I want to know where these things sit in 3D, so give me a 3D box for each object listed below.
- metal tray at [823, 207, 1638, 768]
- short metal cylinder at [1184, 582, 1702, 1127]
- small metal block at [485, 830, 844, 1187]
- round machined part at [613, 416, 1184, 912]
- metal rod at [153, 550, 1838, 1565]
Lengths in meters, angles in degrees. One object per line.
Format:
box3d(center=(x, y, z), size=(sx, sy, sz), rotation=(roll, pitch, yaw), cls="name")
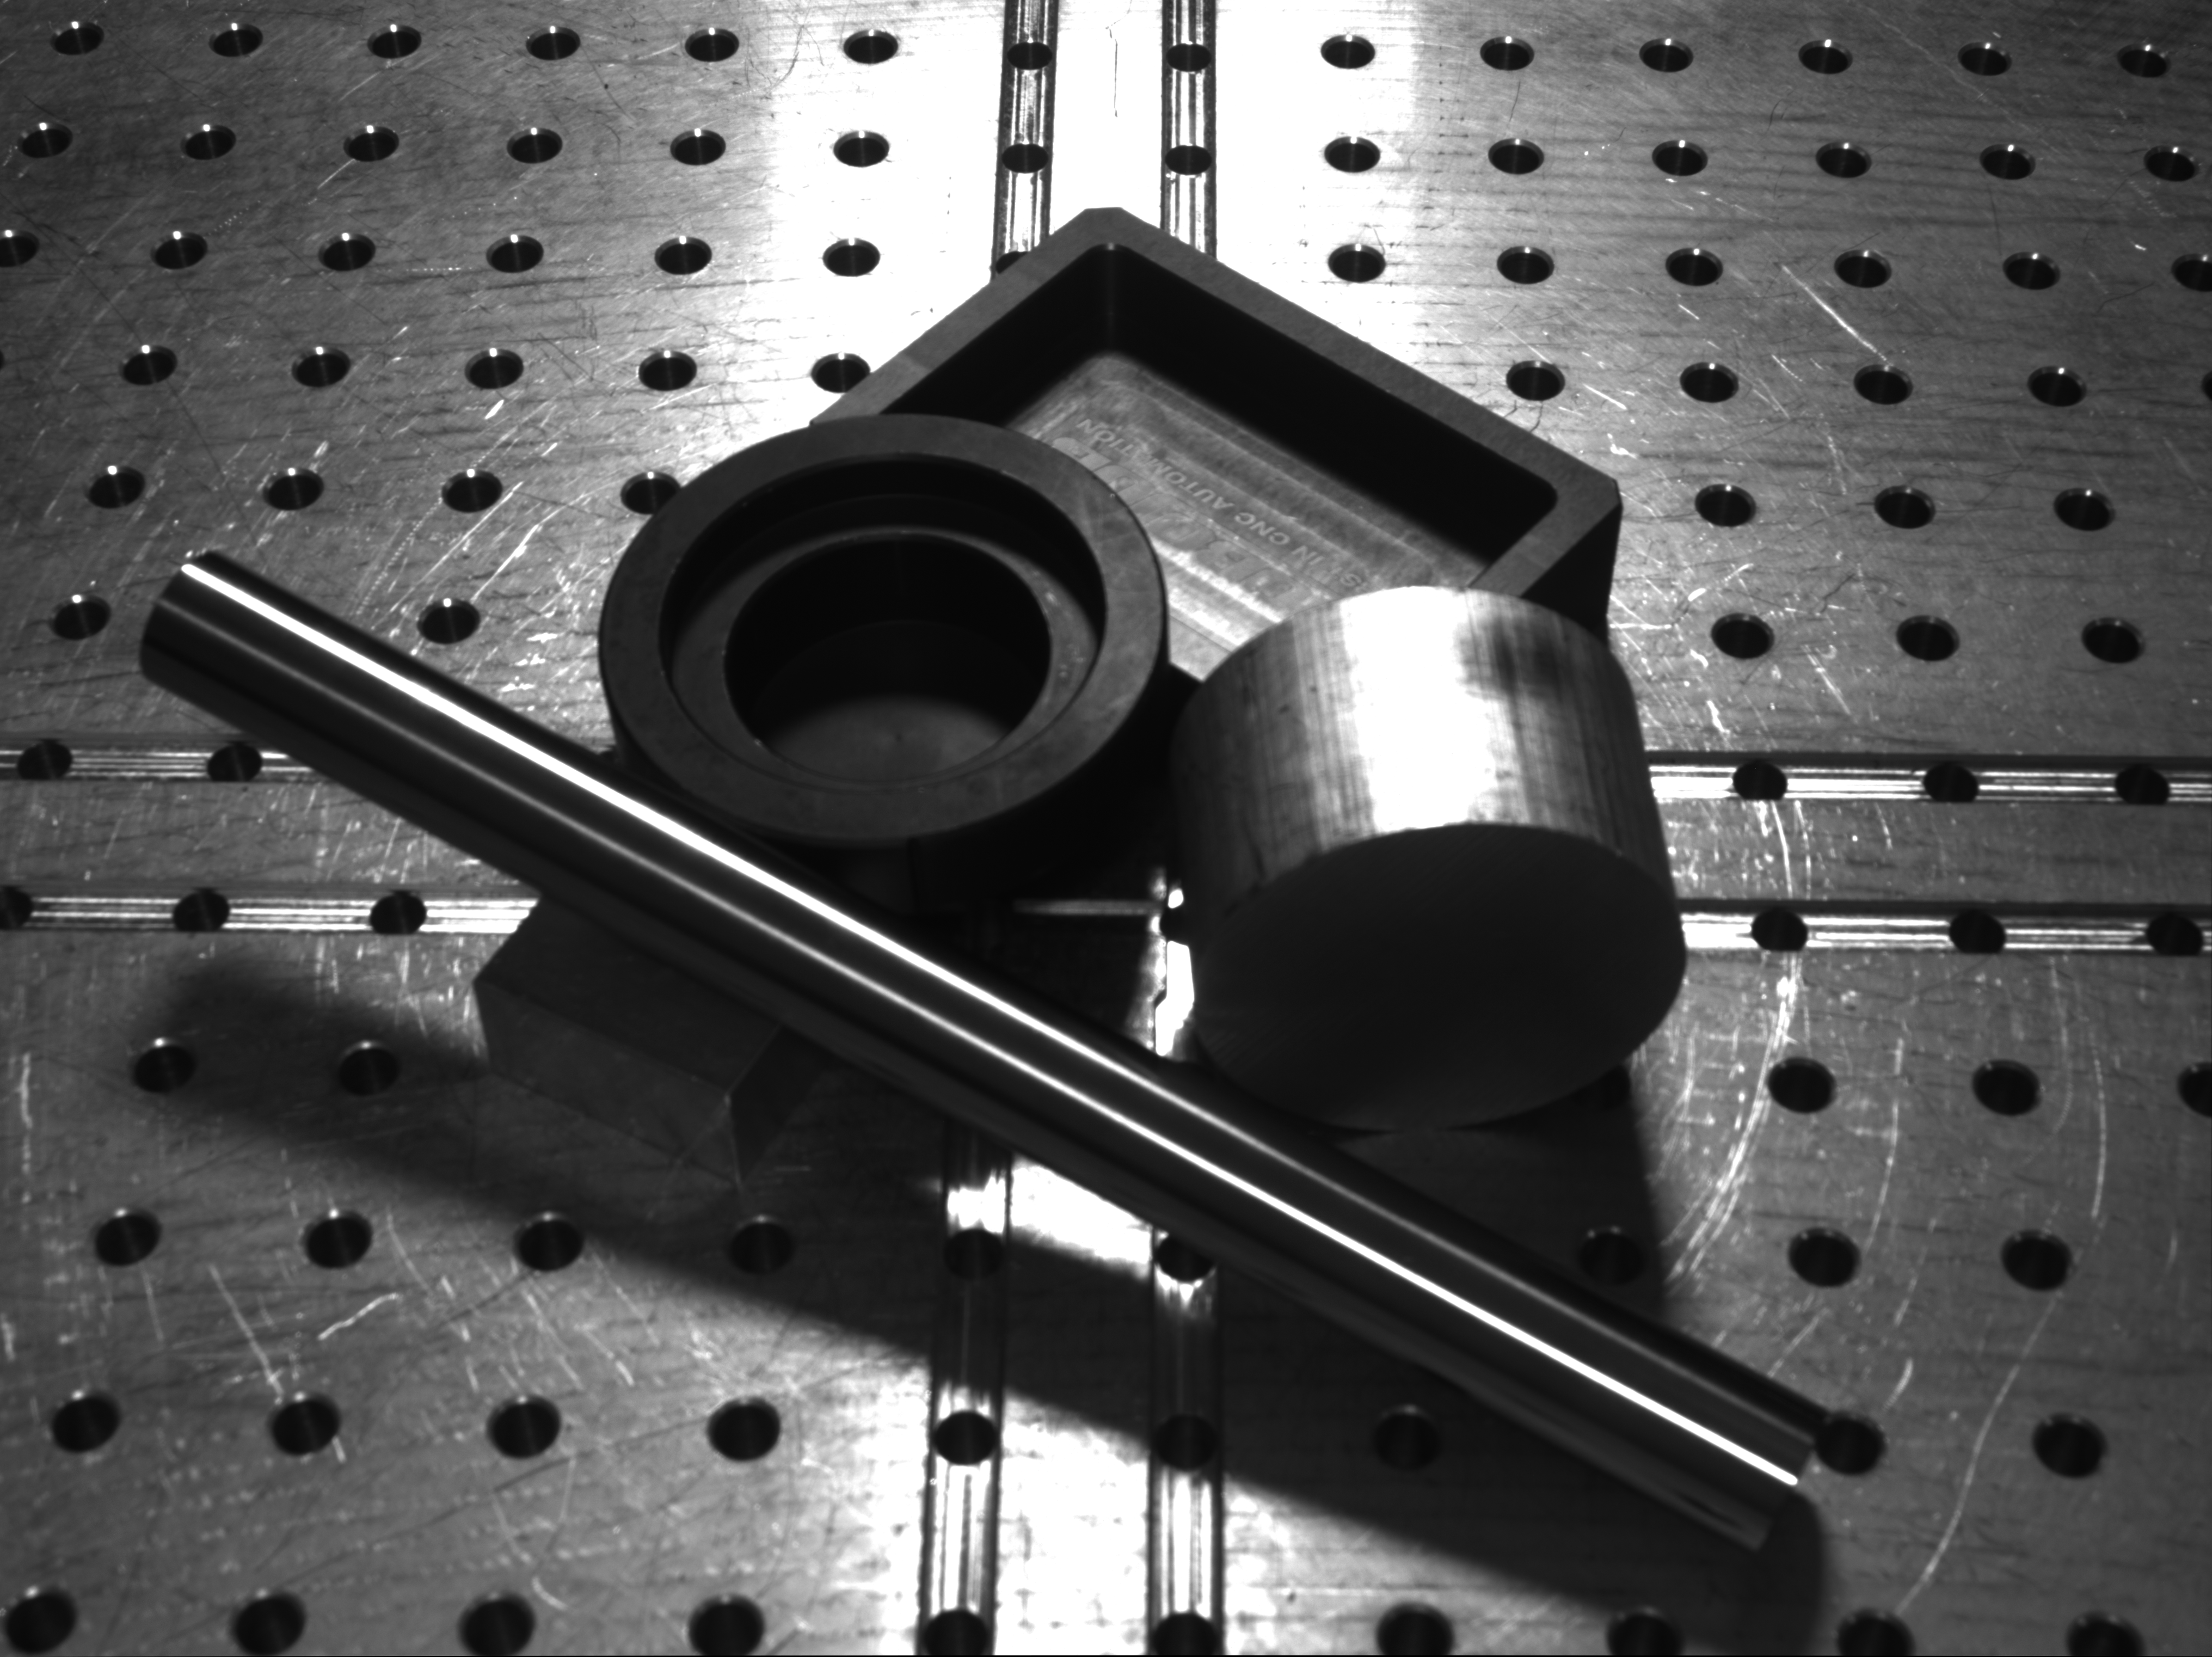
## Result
box3d(center=(0.022, -0.059, 0.691), size=(0.130, 0.030, 0.090), rotation=(33, 57, 25), cls="metal tray")
box3d(center=(0.054, 0.005, 0.603), size=(0.080, 0.080, 0.050), rotation=(-3, 50, -2), cls="short metal cylinder")
box3d(center=(-0.069, 0.026, 0.624), size=(0.050, 0.025, 0.050), rotation=(22, 53, 18), cls="small metal block")
box3d(center=(-0.035, -0.024, 0.644), size=(0.098, 0.042, 0.098), rotation=(-1, 50, 2), cls="round machined part")
box3d(center=(-0.023, 0.033, 0.591), size=(0.300, 0.025, 0.025), rotation=(28, 55, 11), cls="metal rod")
